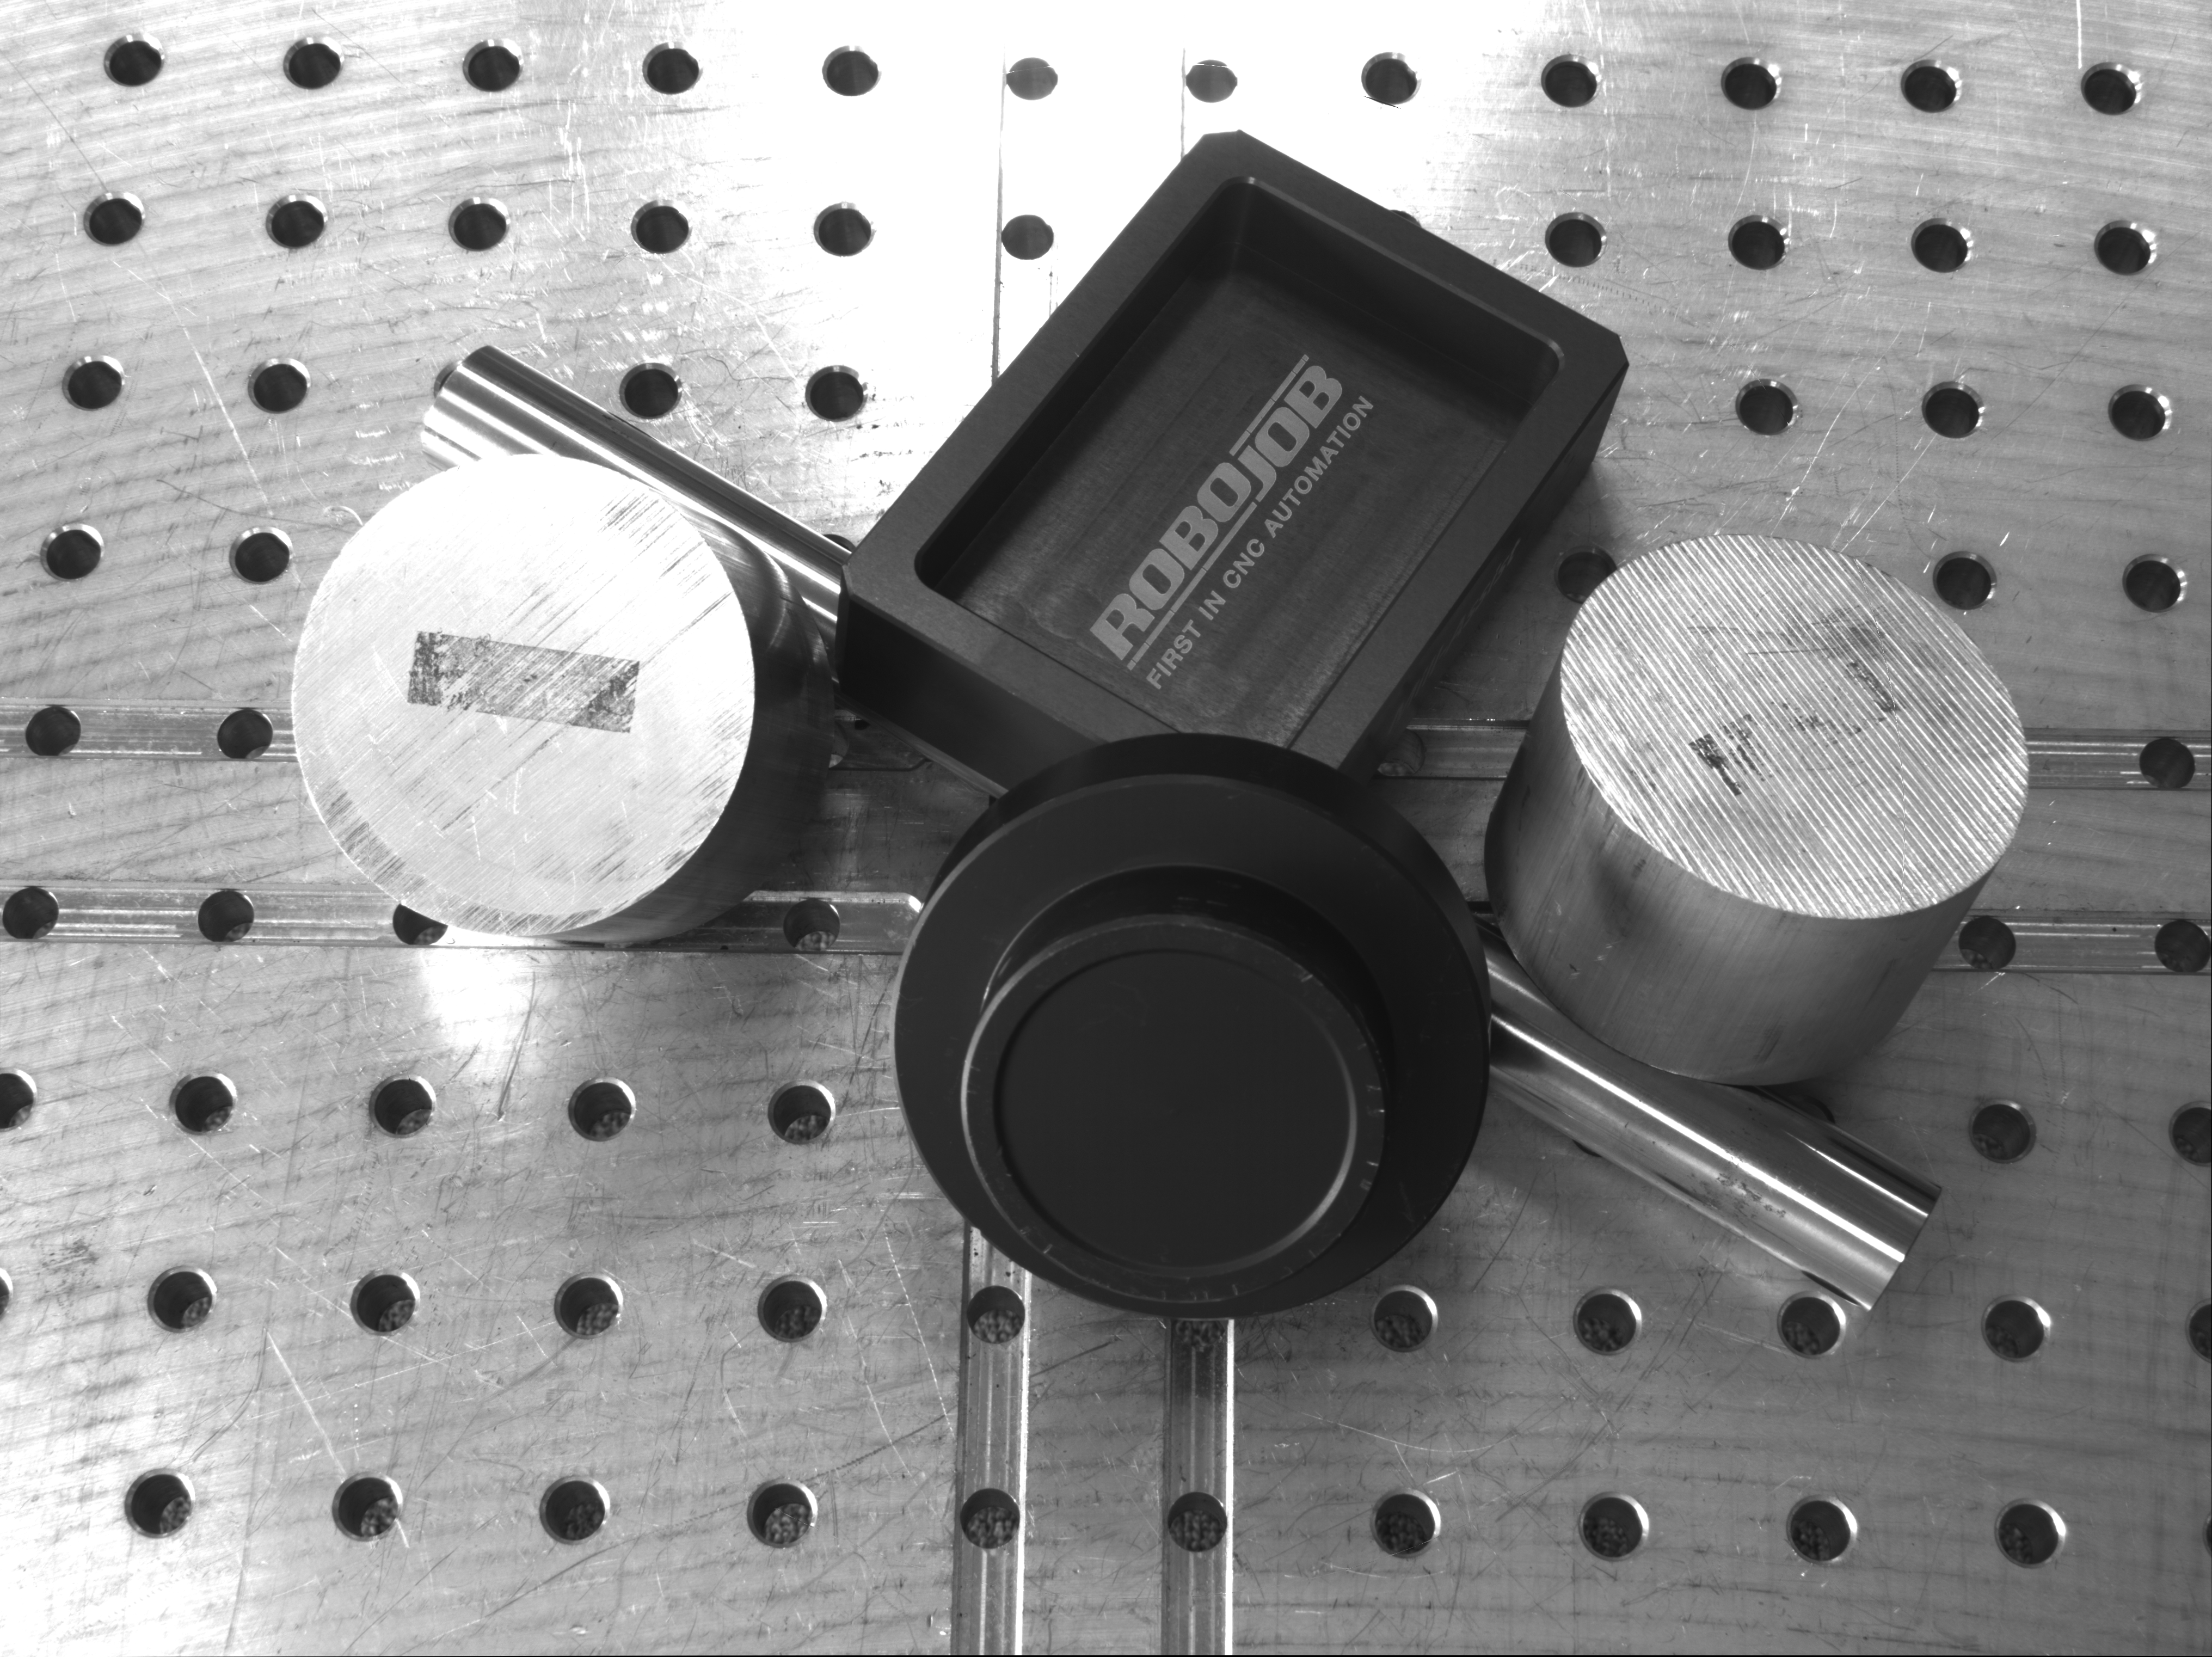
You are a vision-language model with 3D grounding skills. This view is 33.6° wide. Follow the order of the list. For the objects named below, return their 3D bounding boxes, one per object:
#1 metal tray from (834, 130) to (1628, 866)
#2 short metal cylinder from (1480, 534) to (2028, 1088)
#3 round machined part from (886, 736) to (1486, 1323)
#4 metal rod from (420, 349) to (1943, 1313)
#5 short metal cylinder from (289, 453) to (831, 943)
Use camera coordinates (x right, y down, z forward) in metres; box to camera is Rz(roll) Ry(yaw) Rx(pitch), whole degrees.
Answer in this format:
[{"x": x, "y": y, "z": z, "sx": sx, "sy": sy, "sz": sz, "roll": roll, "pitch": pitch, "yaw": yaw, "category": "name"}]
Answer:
[{"x": 0.023, "y": -0.057, "z": 0.650, "sx": 0.090, "sy": 0.030, "sz": 0.130, "roll": 30, "pitch": 59, "yaw": 11, "category": "metal tray"}, {"x": 0.109, "y": -0.003, "z": 0.622, "sx": 0.080, "sy": 0.050, "sz": 0.080, "roll": 6, "pitch": 52, "yaw": -8, "category": "short metal cylinder"}, {"x": 0.013, "y": 0.038, "z": 0.595, "sx": 0.098, "sy": 0.042, "sz": 0.098, "roll": 2, "pitch": 112, "yaw": 5, "category": "round machined part"}, {"x": 0.008, "y": -0.003, "z": 0.648, "sx": 0.300, "sy": 0.025, "sz": 0.025, "roll": 30, "pitch": 73, "yaw": 11, "category": "metal rod"}, {"x": -0.092, "y": -0.021, "z": 0.629, "sx": 0.080, "sy": 0.050, "sz": 0.080, "roll": -1, "pitch": 86, "yaw": 10, "category": "short metal cylinder"}]
